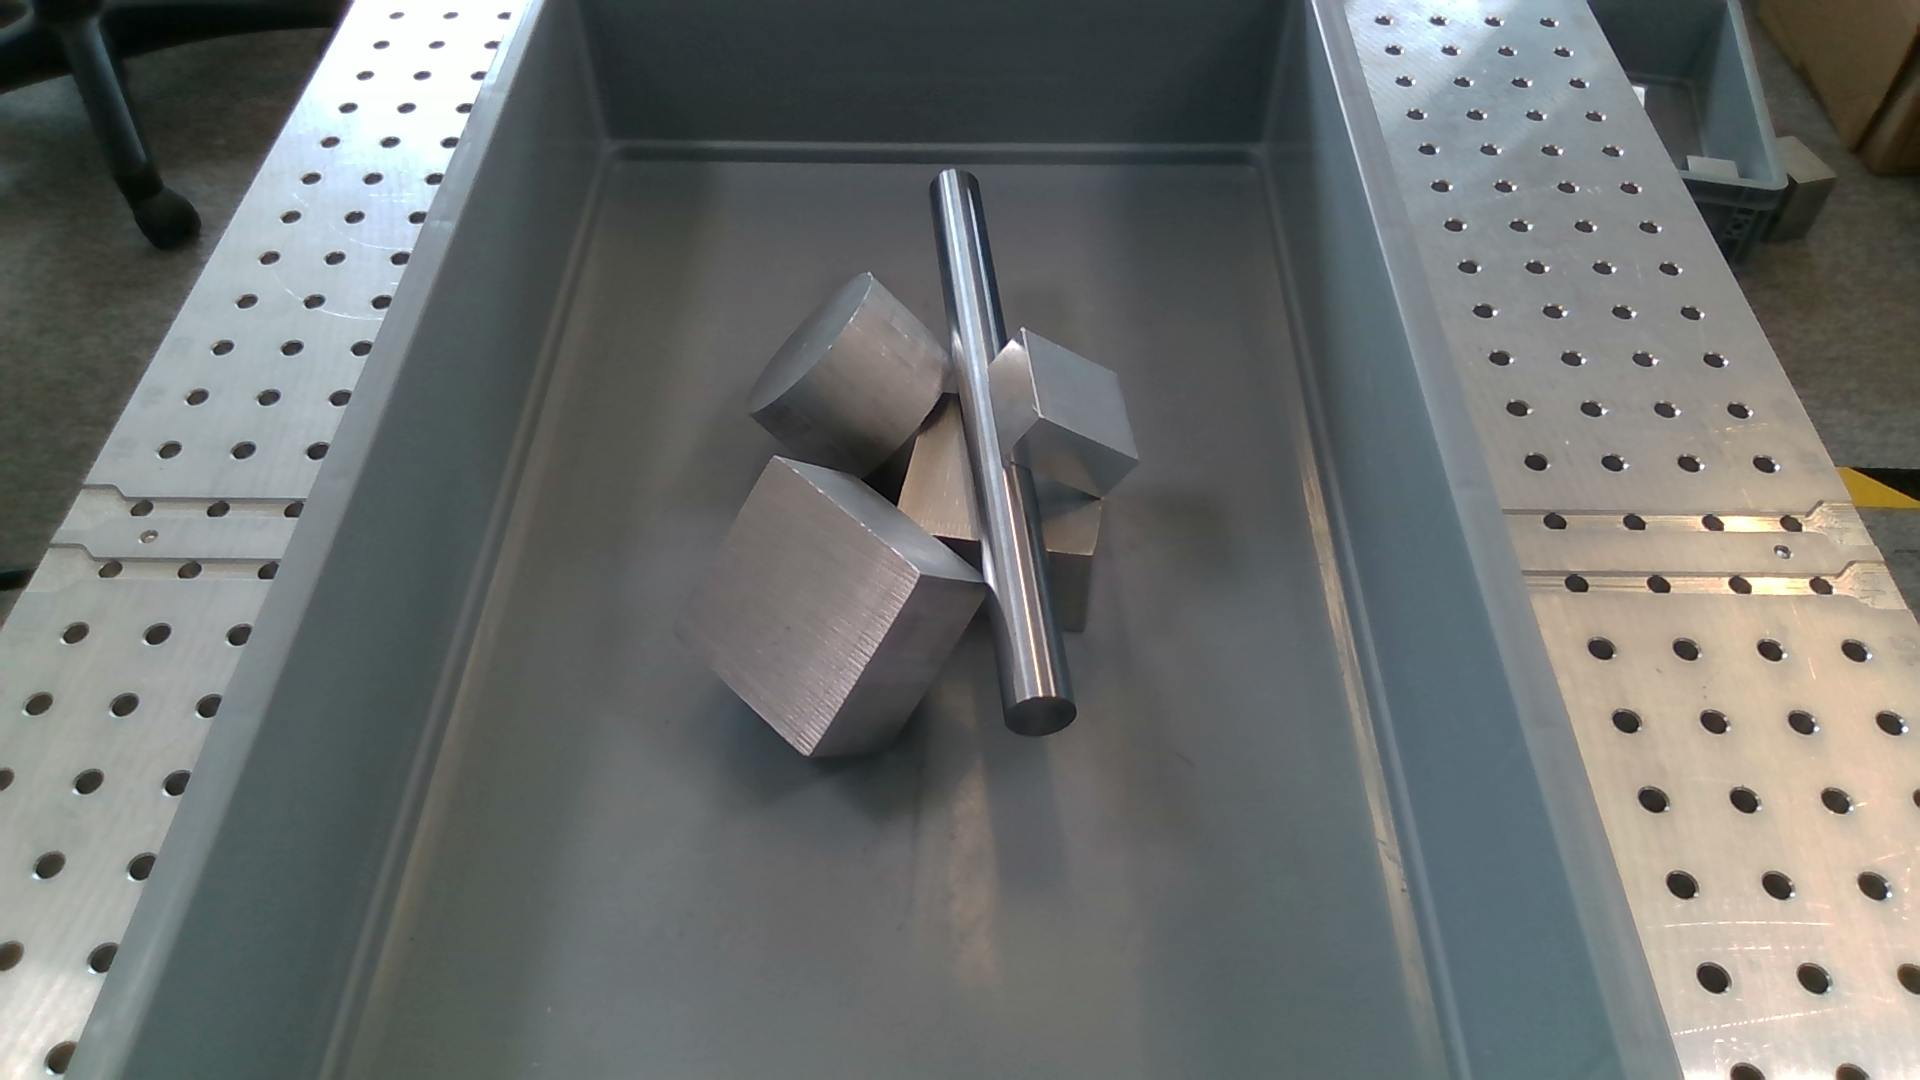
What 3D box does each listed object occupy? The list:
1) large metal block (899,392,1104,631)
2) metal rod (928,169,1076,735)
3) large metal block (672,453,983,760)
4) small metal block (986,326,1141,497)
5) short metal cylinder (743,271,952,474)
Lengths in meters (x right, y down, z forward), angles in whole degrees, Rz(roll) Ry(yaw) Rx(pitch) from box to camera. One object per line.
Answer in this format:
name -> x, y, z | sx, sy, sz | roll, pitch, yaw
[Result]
large metal block -> 0.020, -0.014, 0.581 | 0.080, 0.050, 0.080 | 8, 51, 7
metal rod -> 0.012, -0.054, 0.565 | 0.025, 0.025, 0.299 | -4, 50, -4
large metal block -> -0.049, 0.025, 0.520 | 0.080, 0.050, 0.080 | 37, 103, 27
small metal block -> 0.040, -0.051, 0.547 | 0.050, 0.025, 0.050 | 20, 43, -30
short metal cylinder -> -0.049, -0.070, 0.600 | 0.050, 0.080, 0.080 | 42, 50, -21
